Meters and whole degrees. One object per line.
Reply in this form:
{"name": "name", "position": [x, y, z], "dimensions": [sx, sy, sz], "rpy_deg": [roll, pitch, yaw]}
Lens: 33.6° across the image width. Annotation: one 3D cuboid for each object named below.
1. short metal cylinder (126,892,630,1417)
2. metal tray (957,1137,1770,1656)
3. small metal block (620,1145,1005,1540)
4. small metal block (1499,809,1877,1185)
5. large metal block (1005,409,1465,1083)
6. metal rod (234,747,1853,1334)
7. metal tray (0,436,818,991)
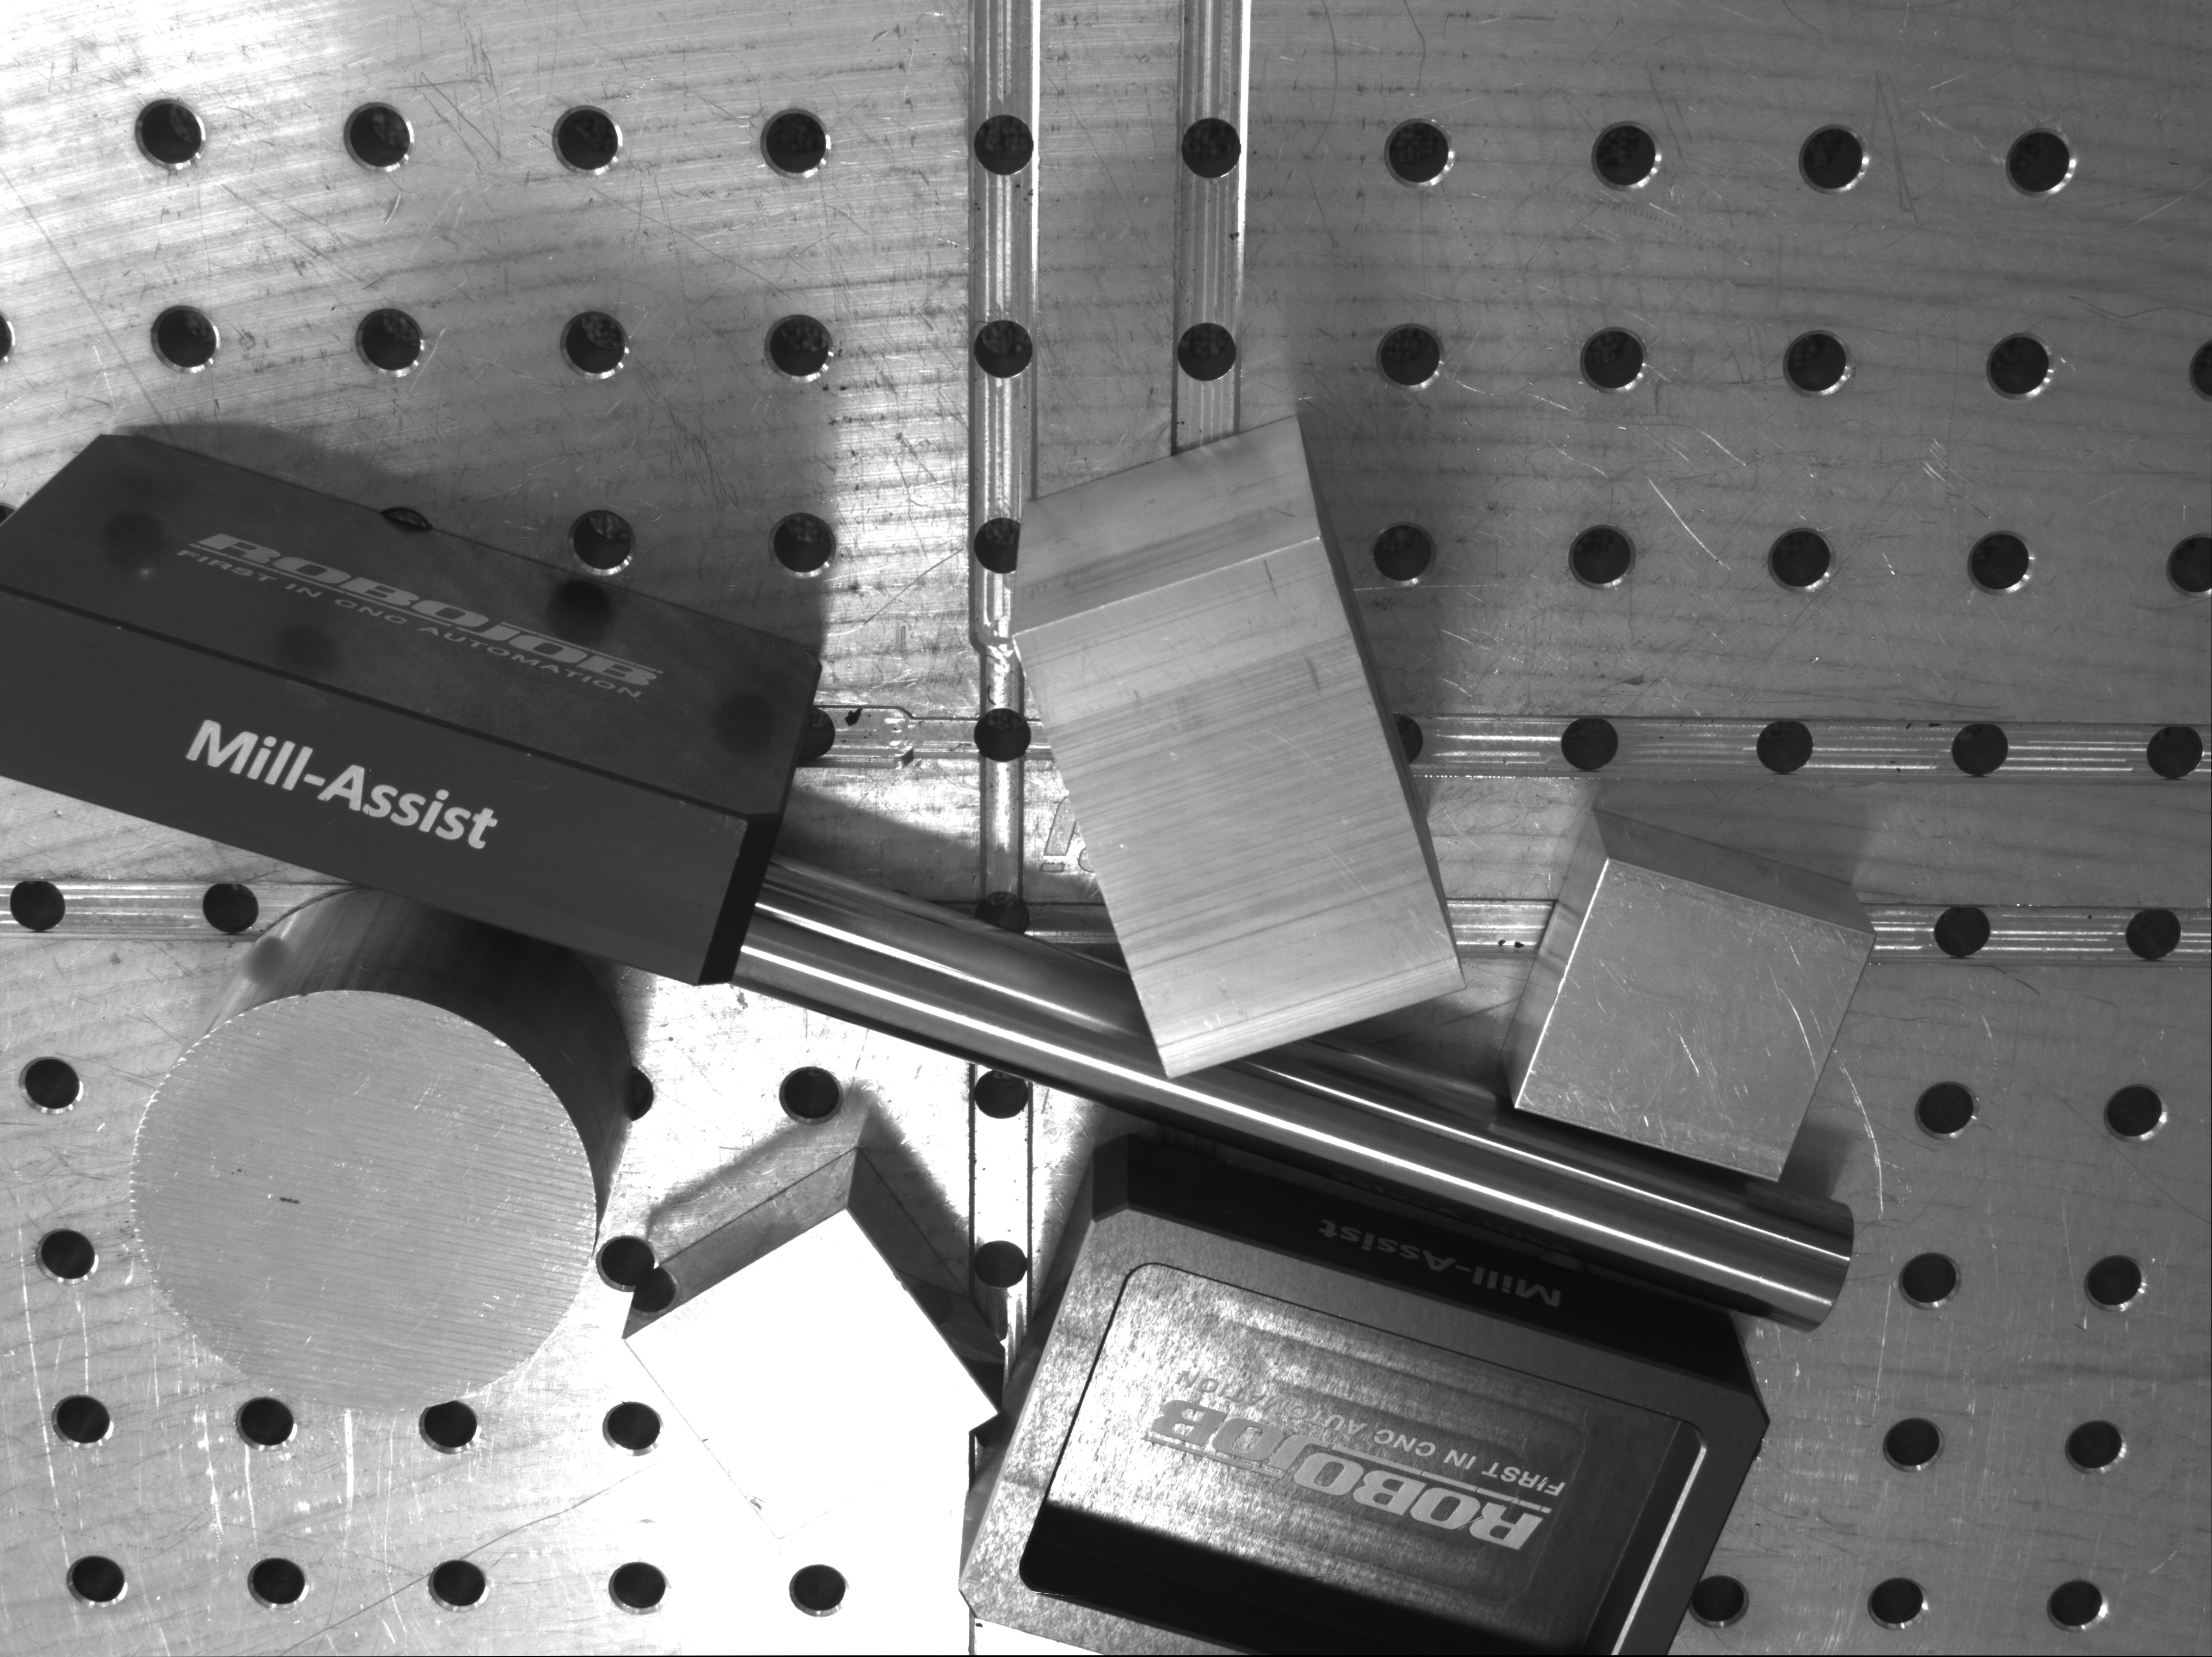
{"name": "short metal cylinder", "position": [-0.128, 0.057, 0.652], "dimensions": [0.080, 0.050, 0.080], "rpy_deg": [0, 110, 0]}
{"name": "metal tray", "position": [0.047, 0.120, 0.686], "dimensions": [0.130, 0.030, 0.090], "rpy_deg": [17, 109, -6]}
{"name": "small metal block", "position": [-0.054, 0.095, 0.681], "dimensions": [0.050, 0.025, 0.050], "rpy_deg": [-31, 107, 11]}
{"name": "small metal block", "position": [0.103, 0.030, 0.657], "dimensions": [0.050, 0.025, 0.050], "rpy_deg": [16, 109, -6]}
{"name": "large metal block", "position": [0.021, -0.016, 0.612], "dimensions": [0.050, 0.080, 0.080], "rpy_deg": [-17, 109, 6]}
{"name": "metal rod", "position": [-0.009, 0.034, 0.658], "dimensions": [0.300, 0.025, 0.025], "rpy_deg": [18, 109, -7]}
{"name": "metal tray", "position": [-0.116, -0.021, 0.602], "dimensions": [0.130, 0.090, 0.030], "rpy_deg": [18, 109, -6]}
